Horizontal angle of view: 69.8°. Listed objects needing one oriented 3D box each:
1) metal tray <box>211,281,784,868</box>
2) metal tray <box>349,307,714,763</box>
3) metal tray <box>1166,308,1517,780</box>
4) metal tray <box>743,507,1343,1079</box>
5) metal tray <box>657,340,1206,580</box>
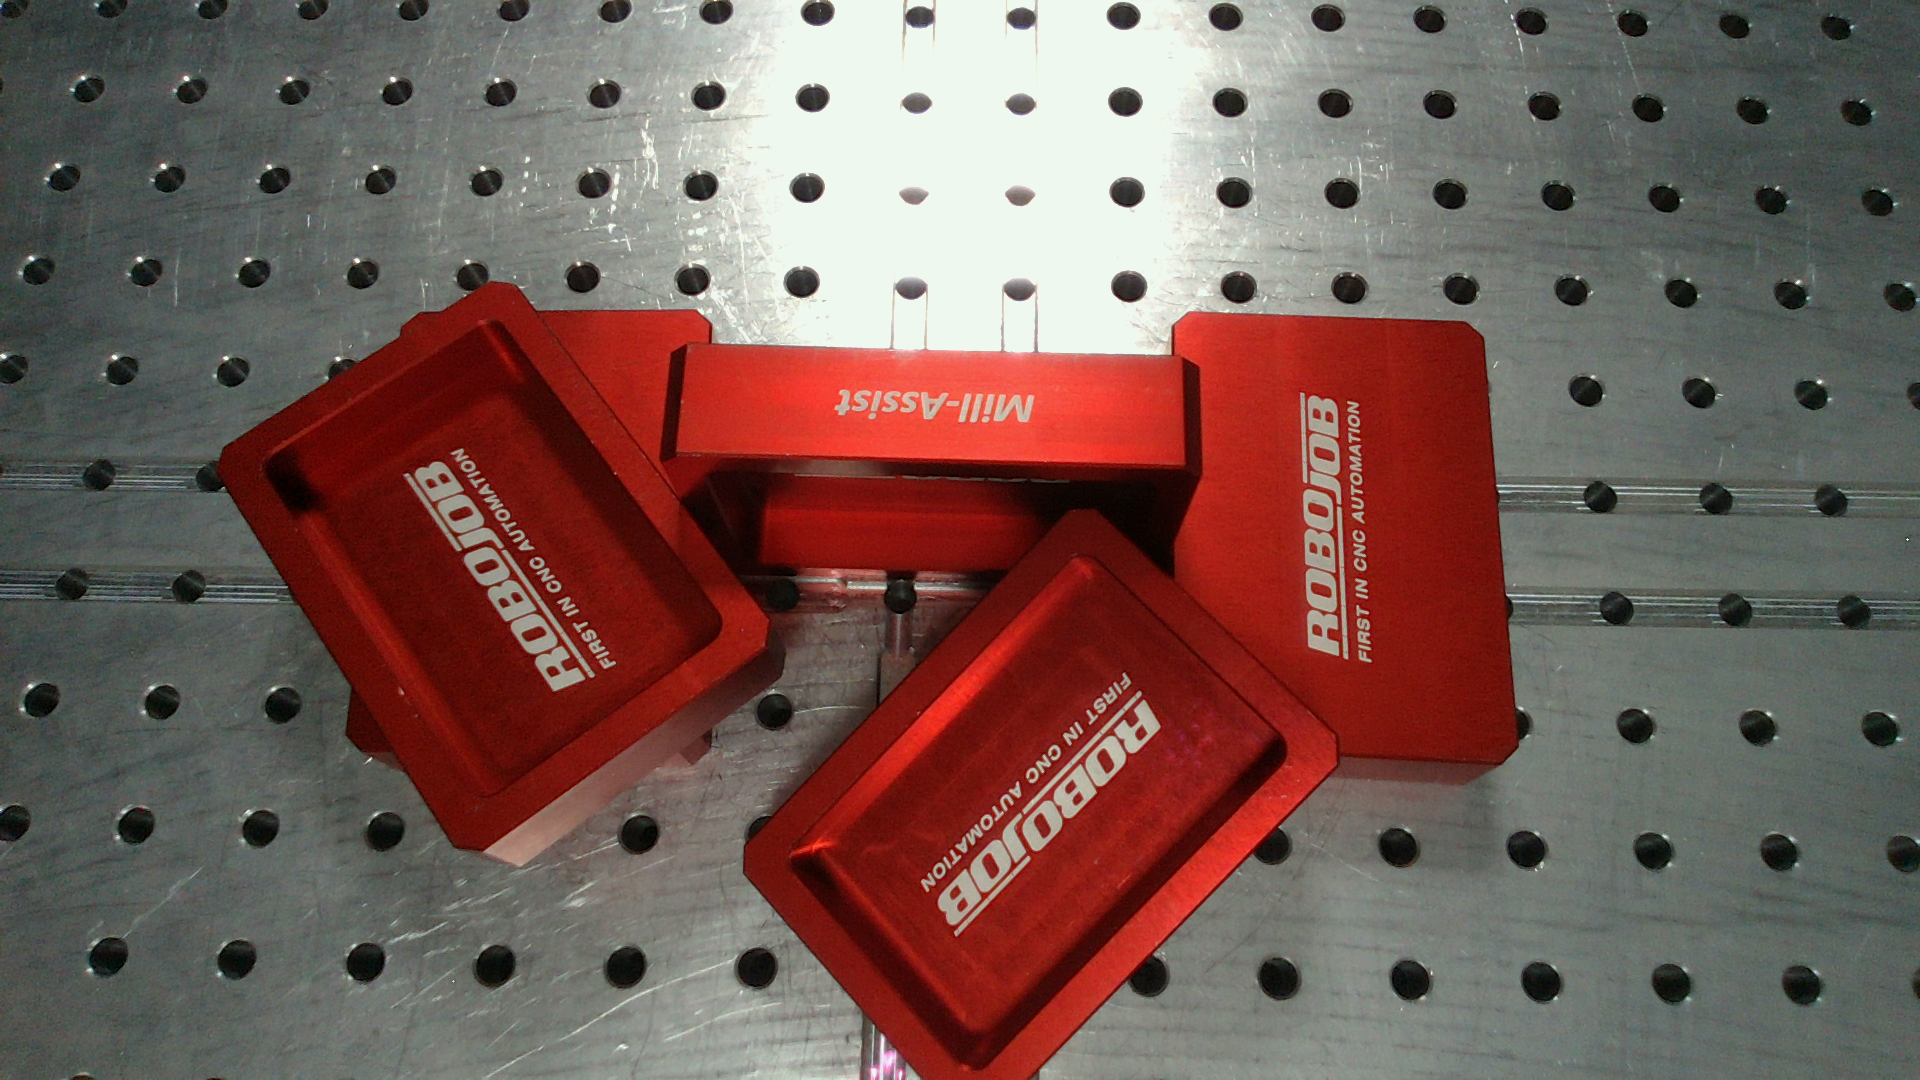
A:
[{"bbox_3d":[-0.119,0.006,0.358,0.090,0.030,0.130,-36,74,-13],"label":"metal tray"},{"bbox_3d":[-0.117,-0.001,0.395,0.090,0.030,0.130,-1,71,0],"label":"metal tray"},{"bbox_3d":[0.104,0.000,0.394,0.090,0.030,0.130,3,70,1],"label":"metal tray"},{"bbox_3d":[0.020,0.068,0.350,0.090,0.030,0.130,44,93,14],"label":"metal tray"},{"bbox_3d":[-0.006,-0.018,0.368,0.130,0.090,0.030,1,70,0],"label":"metal tray"}]
